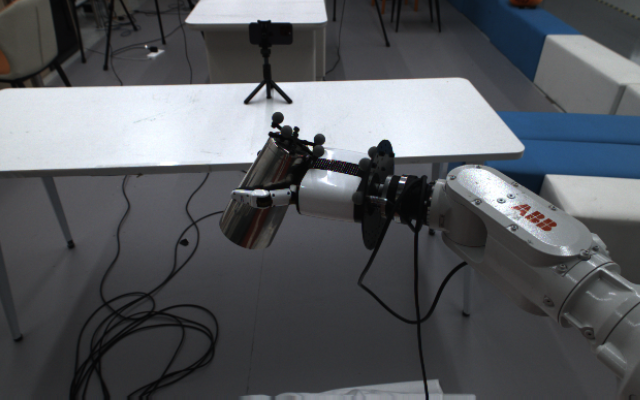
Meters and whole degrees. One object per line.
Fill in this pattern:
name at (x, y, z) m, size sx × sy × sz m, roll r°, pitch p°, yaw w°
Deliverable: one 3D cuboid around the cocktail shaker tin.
cocktail shaker tin at (-0.080, -0.020, 0.744) m, size 0.093 × 0.170 × 0.093 m, roll 25°, pitch 29°, yaw -15°
